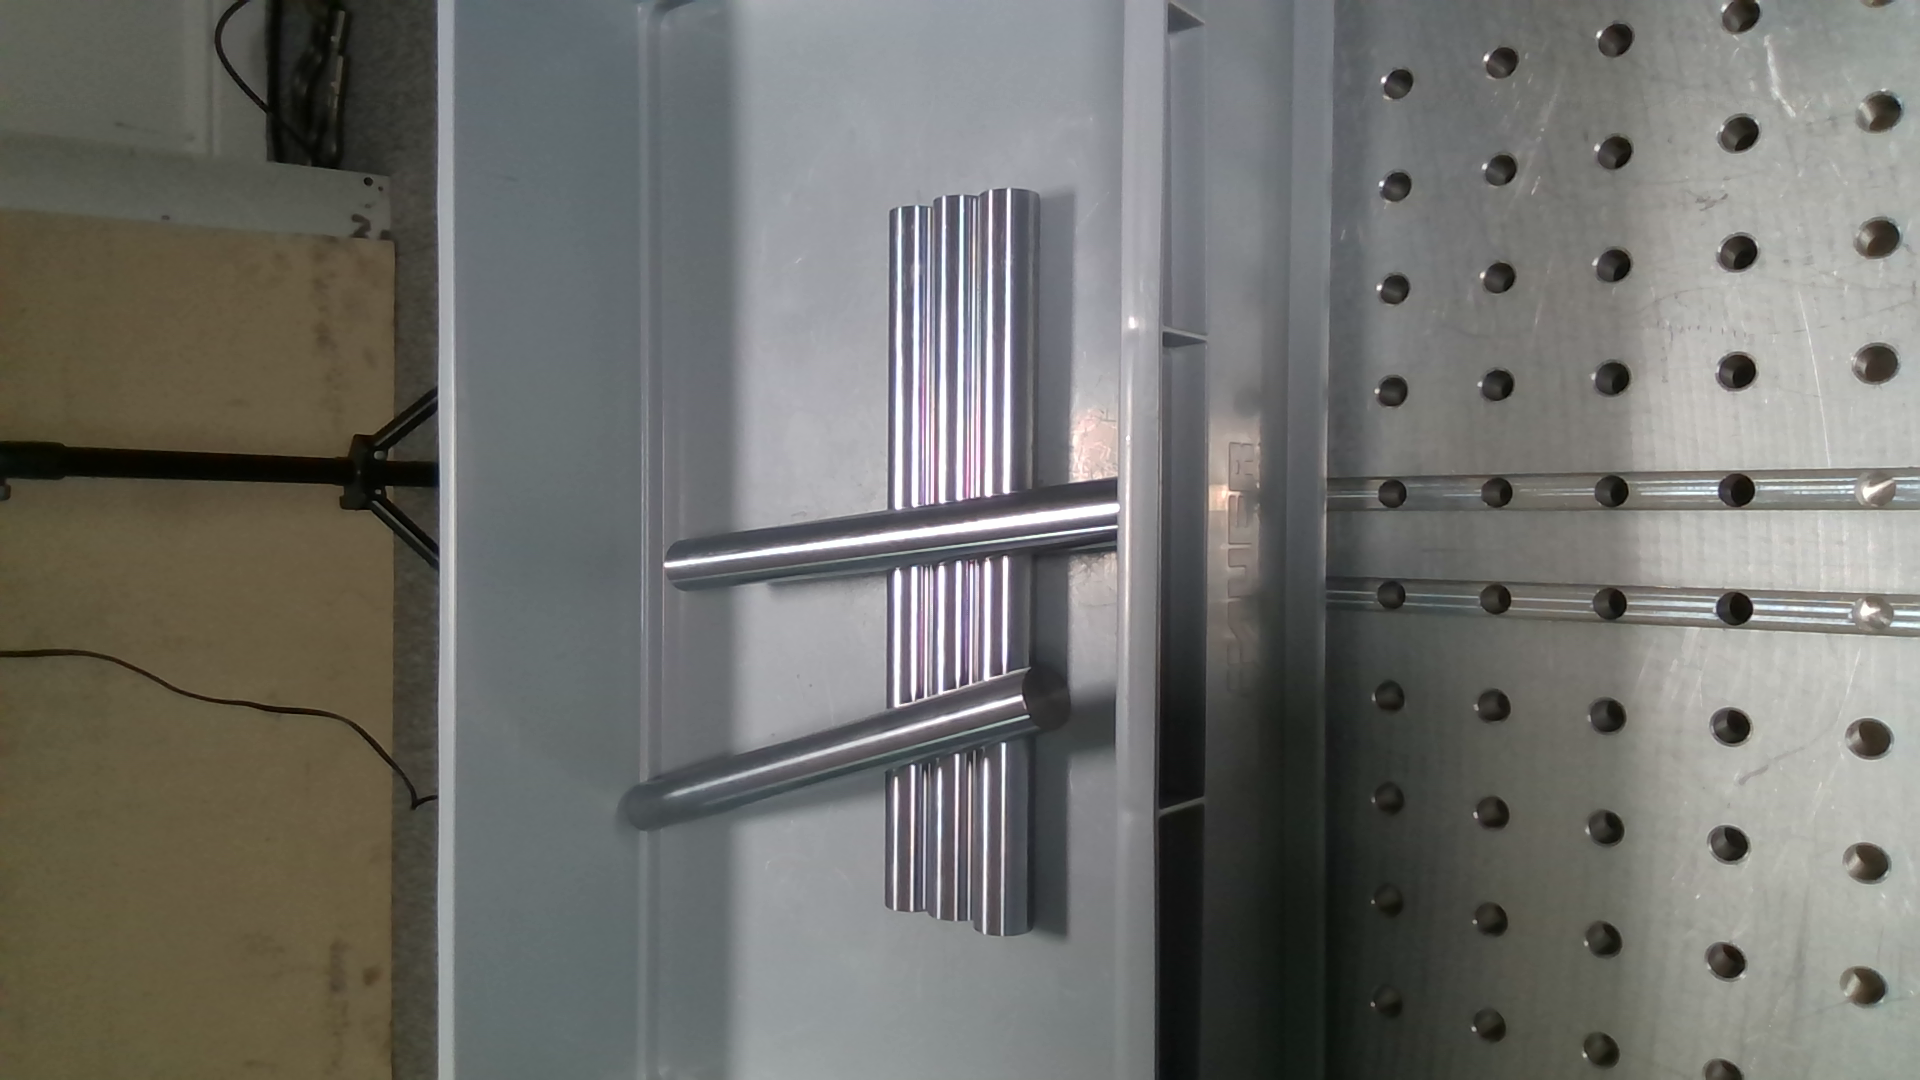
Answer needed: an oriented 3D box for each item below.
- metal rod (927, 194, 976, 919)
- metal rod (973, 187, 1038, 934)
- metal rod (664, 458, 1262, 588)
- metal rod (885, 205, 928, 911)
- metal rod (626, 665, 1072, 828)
[{"bbox_3d":[0.000,0.008,0.581,0.025,0.025,0.300,1,91,40],"label":"metal rod"},{"bbox_3d":[0.019,0.009,0.565,0.025,0.025,0.300,1,91,40],"label":"metal rod"},{"bbox_3d":[-0.018,-0.002,0.563,0.300,0.025,0.025,-7,86,40],"label":"metal rod"},{"bbox_3d":[-0.019,0.008,0.597,0.025,0.025,0.300,1,91,40],"label":"metal rod"},{"bbox_3d":[-0.066,0.099,0.611,0.300,0.025,0.025,-23,76,45],"label":"metal rod"}]
